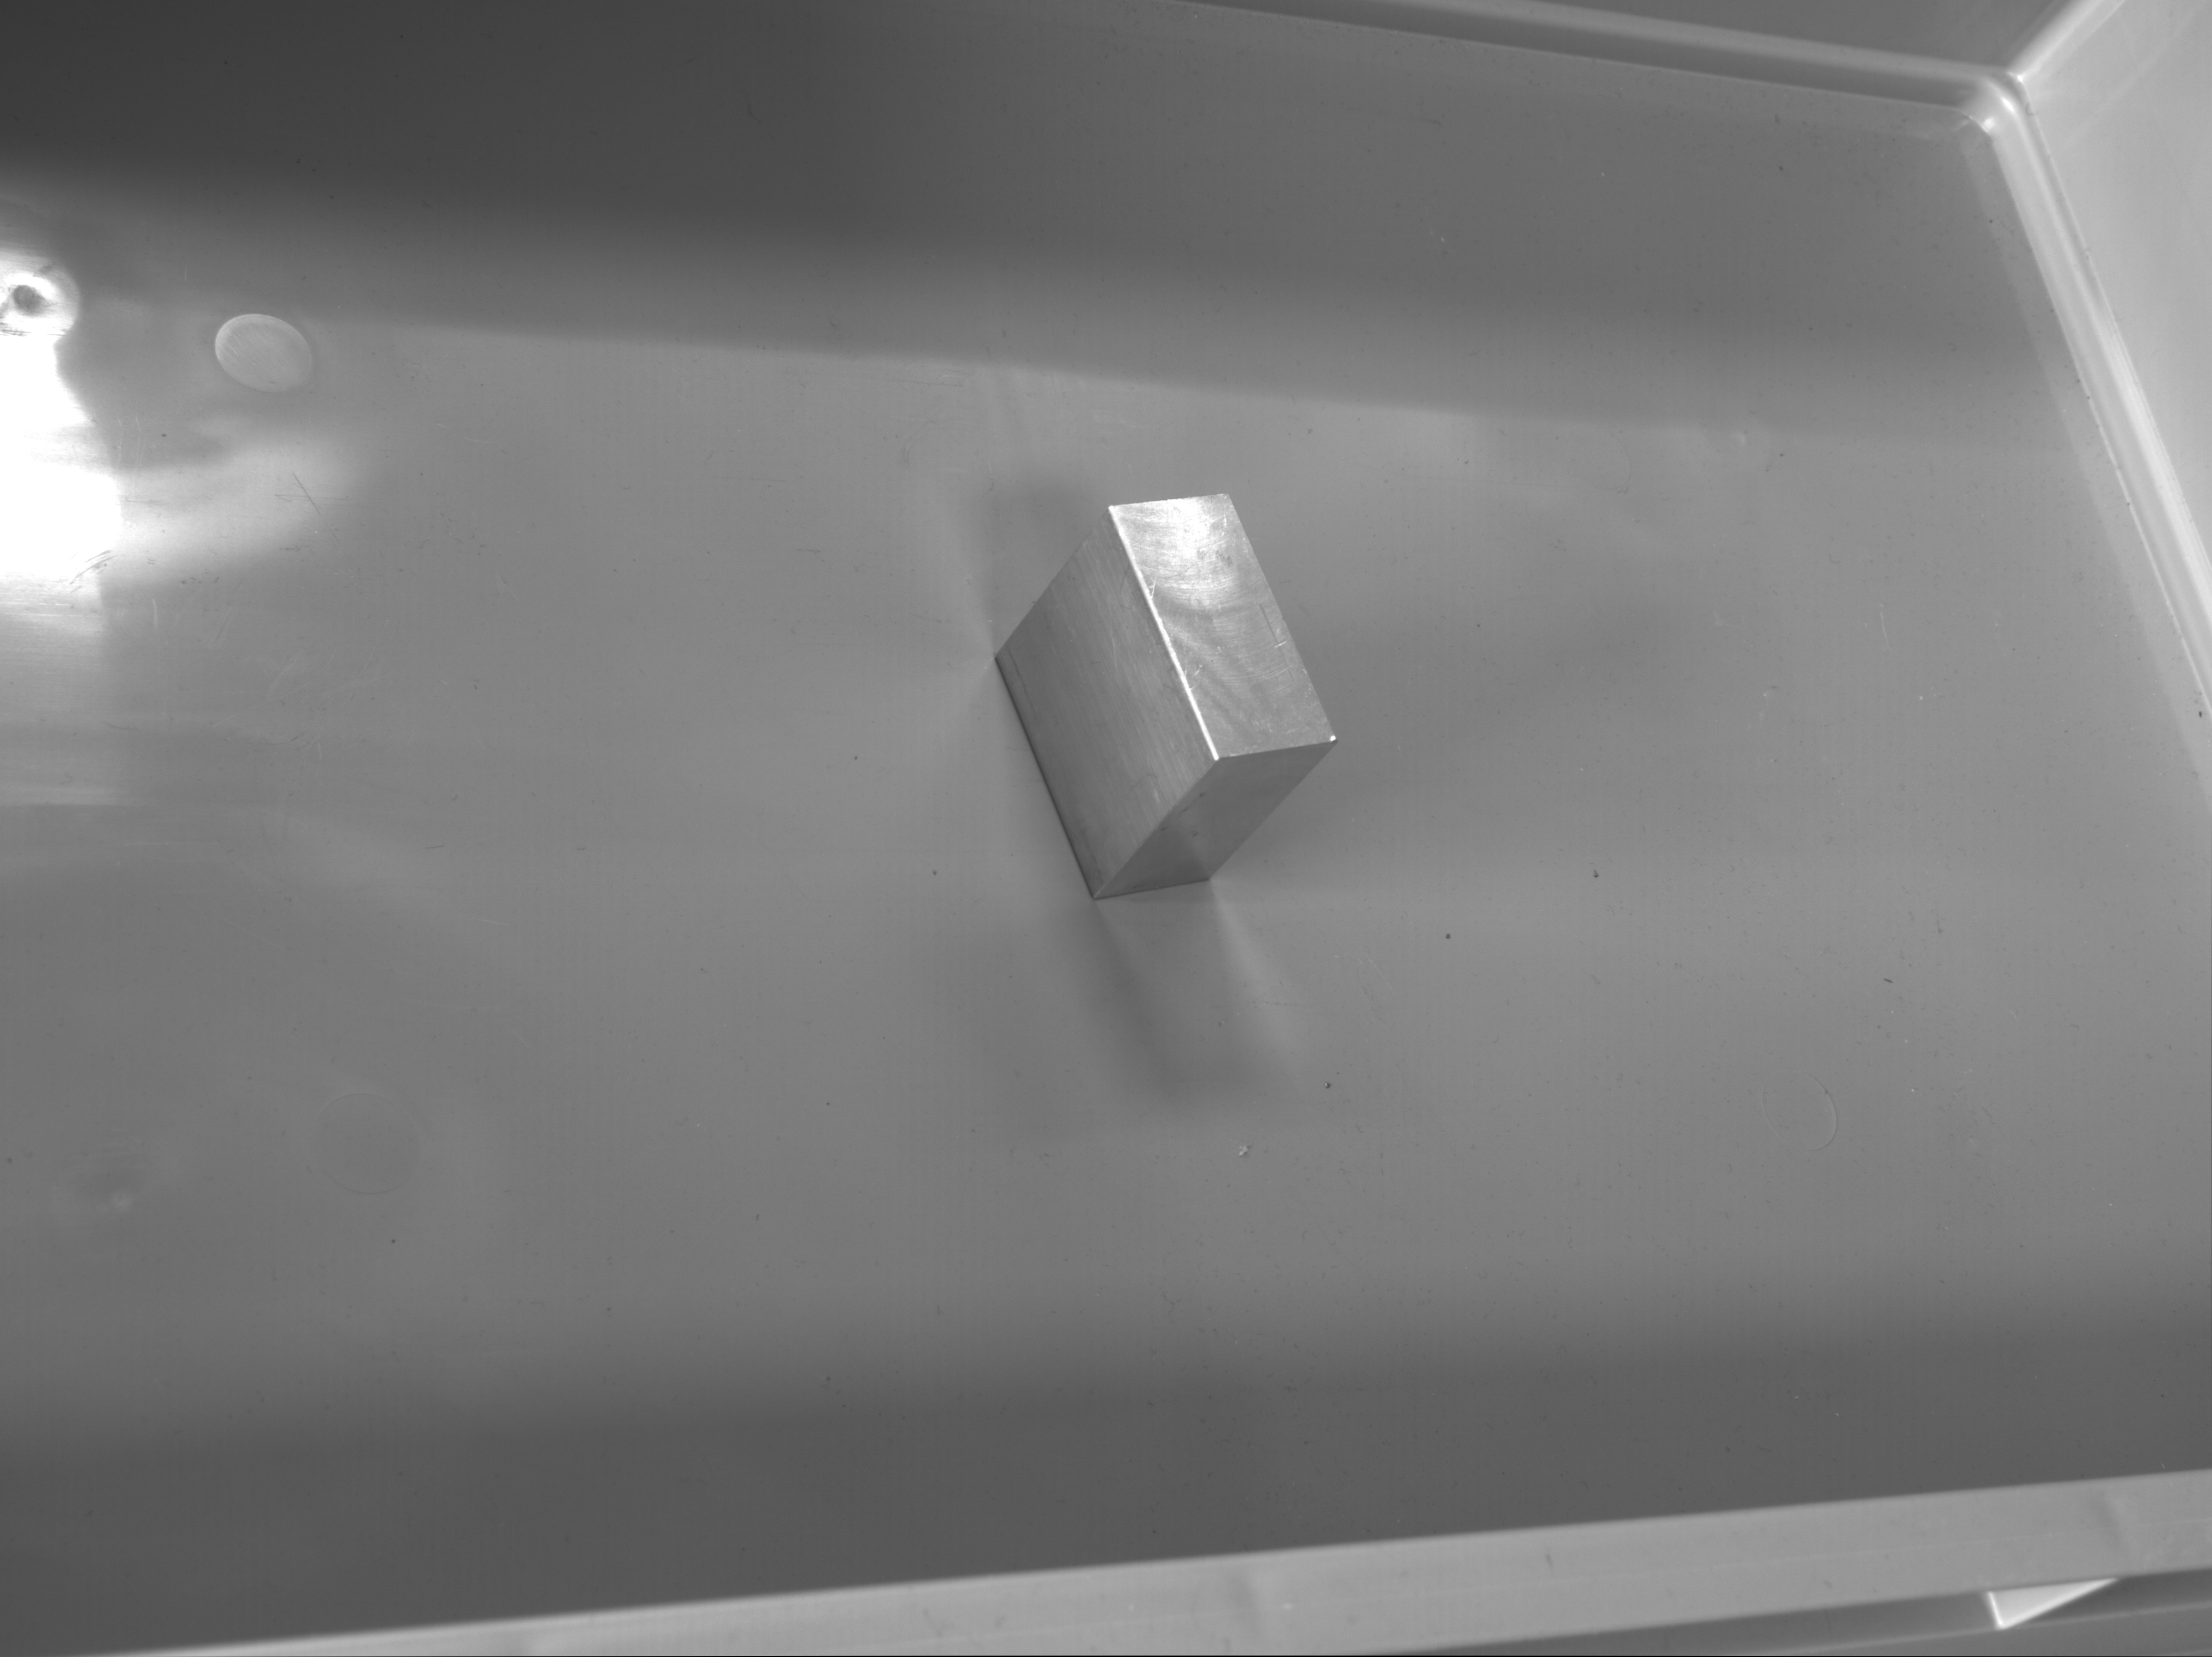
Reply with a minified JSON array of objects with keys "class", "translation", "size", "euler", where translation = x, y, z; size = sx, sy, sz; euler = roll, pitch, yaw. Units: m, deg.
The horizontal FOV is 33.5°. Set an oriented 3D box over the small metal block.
[{"class":"small metal block","translation":[0.009,-0.022,0.638],"size":[0.025,0.050,0.050],"euler":[-9,66,-32]}]
